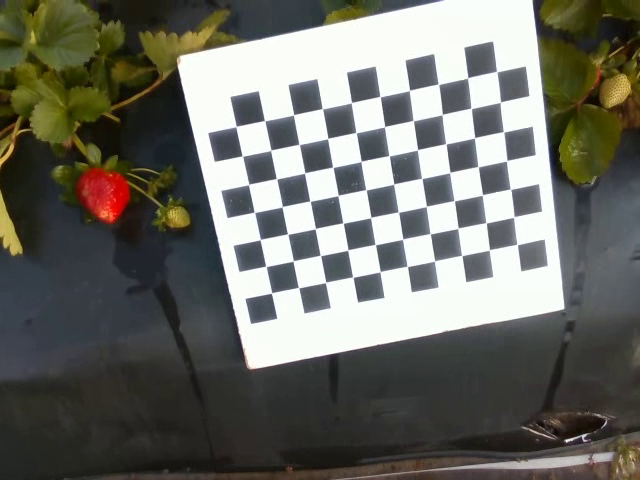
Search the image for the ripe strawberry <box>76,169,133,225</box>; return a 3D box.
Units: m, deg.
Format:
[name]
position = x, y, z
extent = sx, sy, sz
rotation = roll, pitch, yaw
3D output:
[ripe strawberry]
position = -0.183, -0.034, 0.515
extent = 0.043, 0.057, 0.052
rotation = -36, -50, 10
